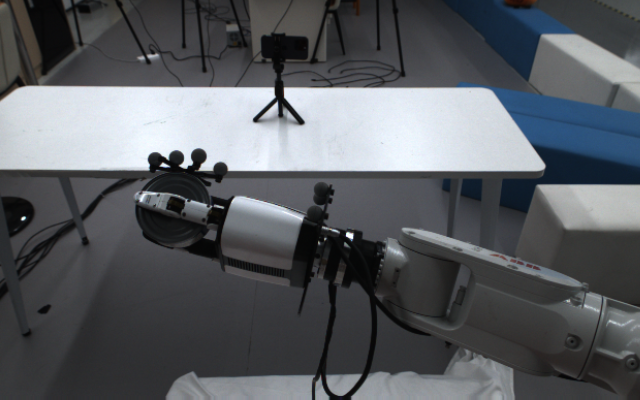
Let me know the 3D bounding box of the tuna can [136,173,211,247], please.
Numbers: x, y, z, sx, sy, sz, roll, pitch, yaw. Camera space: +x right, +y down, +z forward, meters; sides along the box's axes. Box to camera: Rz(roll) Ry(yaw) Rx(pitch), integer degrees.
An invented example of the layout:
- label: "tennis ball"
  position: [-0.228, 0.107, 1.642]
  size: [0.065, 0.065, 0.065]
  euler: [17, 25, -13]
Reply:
- label: "tuna can"
  position: [-0.168, 0.012, 0.568]
  size: [0.085, 0.034, 0.085]
  euler: [1, 73, -2]
